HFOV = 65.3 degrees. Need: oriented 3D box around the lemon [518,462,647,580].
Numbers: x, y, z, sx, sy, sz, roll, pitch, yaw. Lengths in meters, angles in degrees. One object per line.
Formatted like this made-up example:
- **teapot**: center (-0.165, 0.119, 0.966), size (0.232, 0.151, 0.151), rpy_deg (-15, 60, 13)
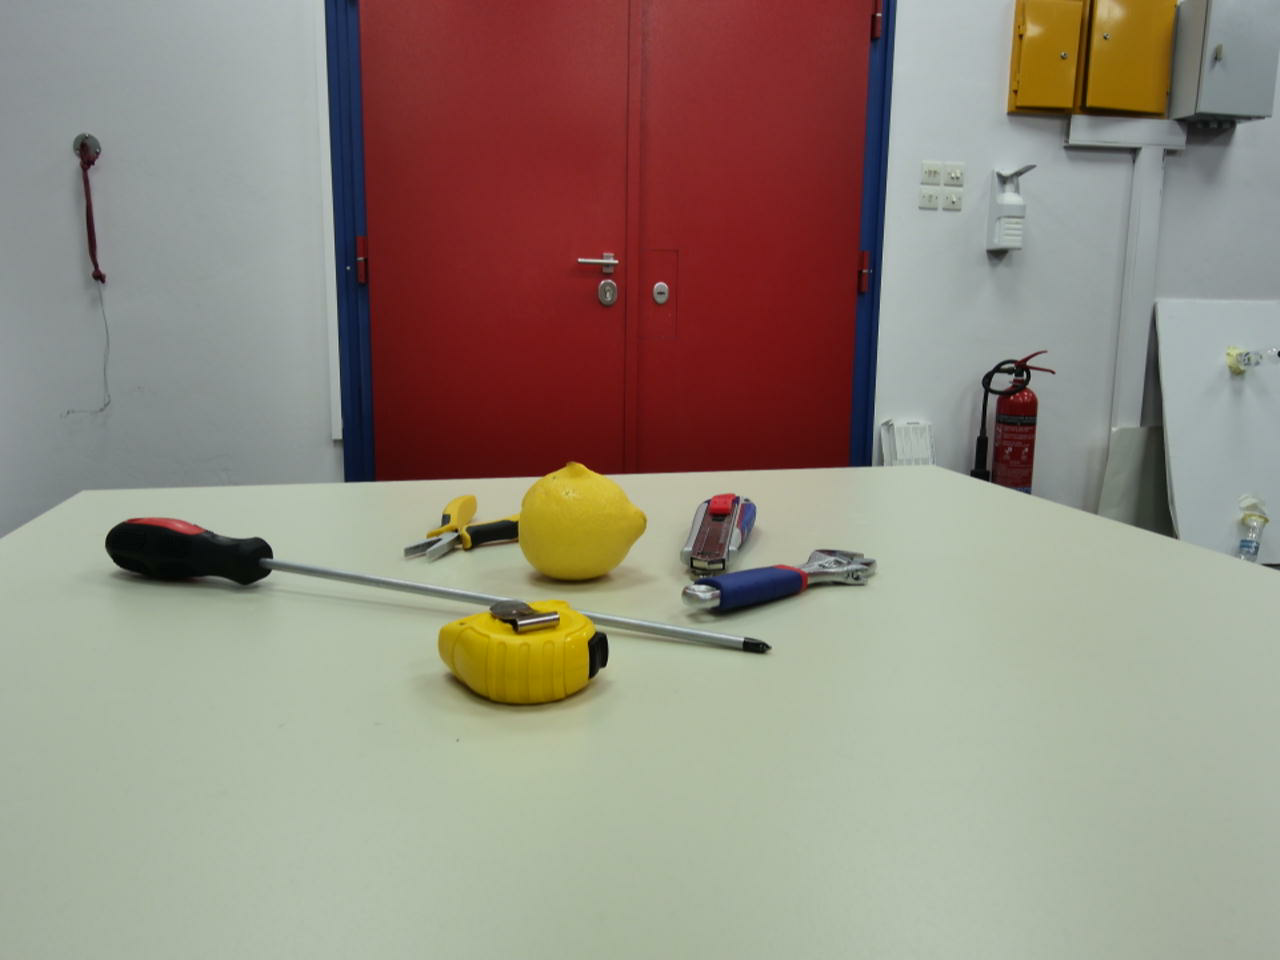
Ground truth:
- **lemon**: center (-0.039, 0.024, 0.603), size (0.071, 0.071, 0.070), rpy_deg (7, 11, 43)
